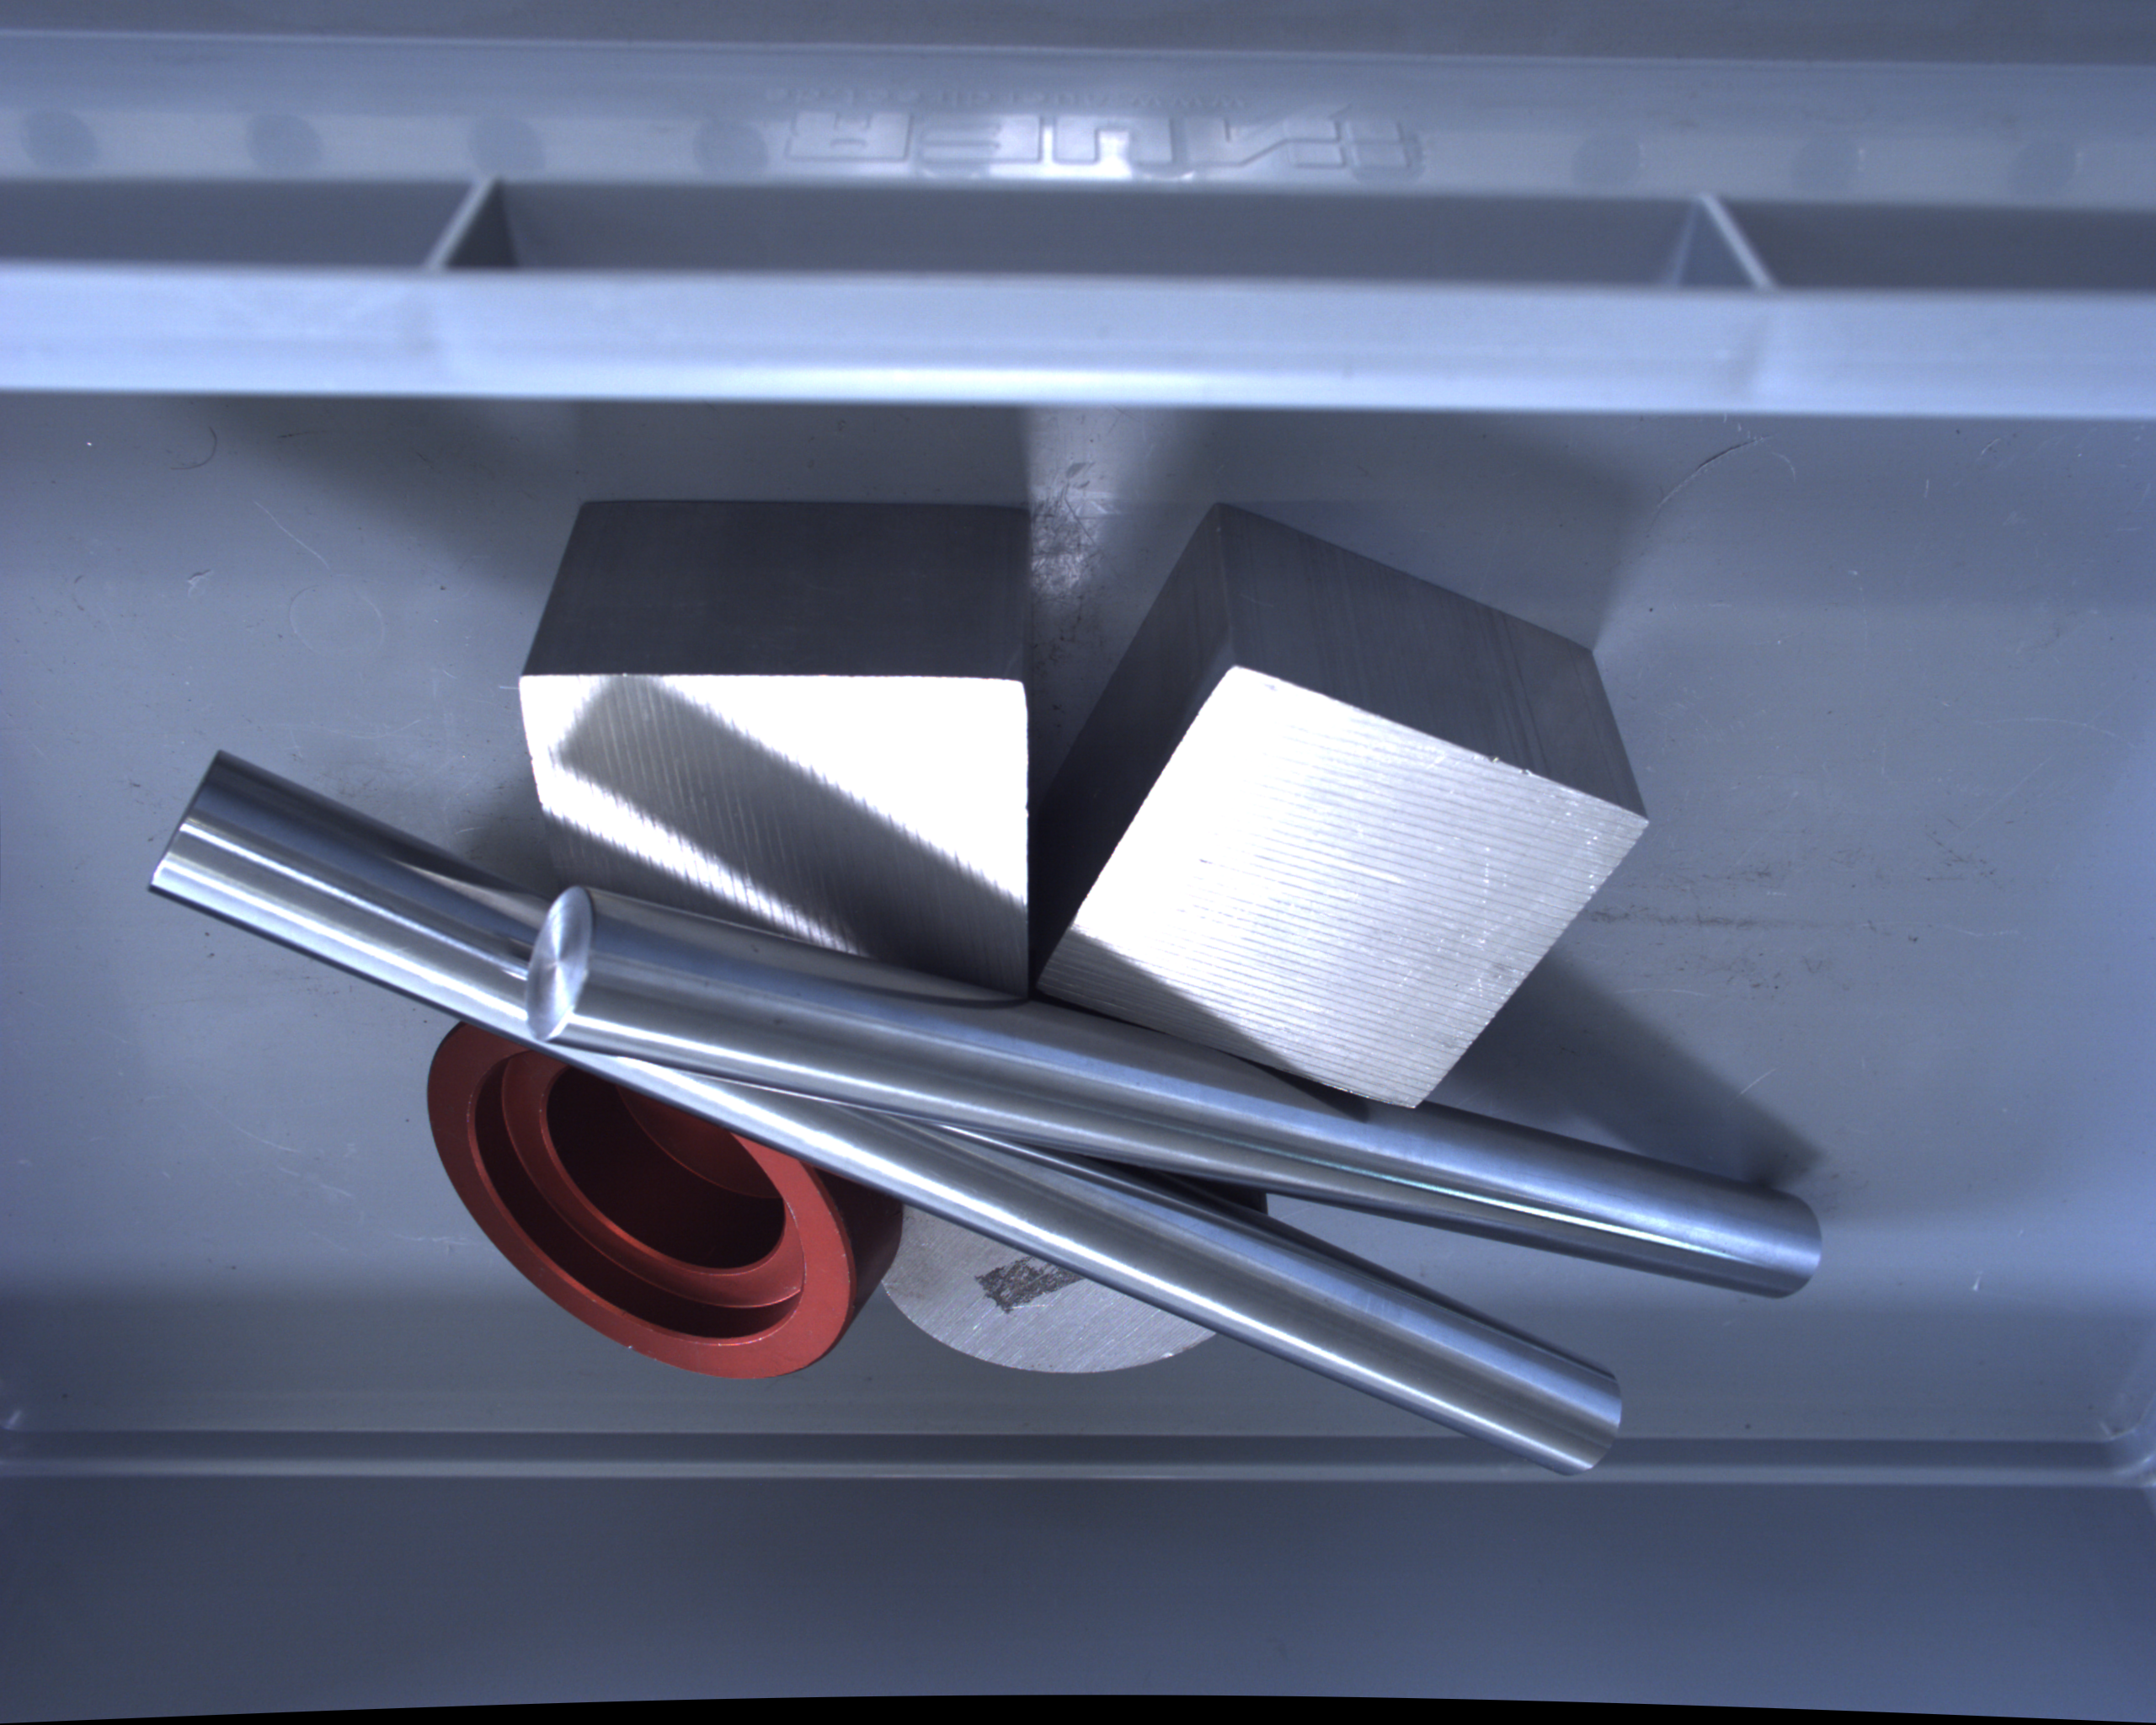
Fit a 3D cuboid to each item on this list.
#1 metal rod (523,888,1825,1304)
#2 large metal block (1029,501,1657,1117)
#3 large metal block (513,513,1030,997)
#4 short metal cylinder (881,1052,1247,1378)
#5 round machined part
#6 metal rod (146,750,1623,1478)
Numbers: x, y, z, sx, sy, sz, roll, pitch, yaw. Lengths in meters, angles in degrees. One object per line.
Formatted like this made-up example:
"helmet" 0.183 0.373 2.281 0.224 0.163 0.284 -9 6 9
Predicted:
"metal rod" 0.041 0.053 0.403 0.302 0.025 0.025 17 130 -33
"large metal block" 0.044 -0.008 0.383 0.080 0.050 0.079 19 128 -16
"large metal block" -0.049 -0.015 0.373 0.081 0.050 0.079 1 130 -1
"short metal cylinder" -0.001 0.065 0.445 0.081 0.050 0.079 0 130 0
"round machined part" -0.079 0.056 0.428 0.098 0.042 0.097 14 129 18
"metal rod" -0.017 0.056 0.387 0.301 0.025 0.025 27 125 -23
